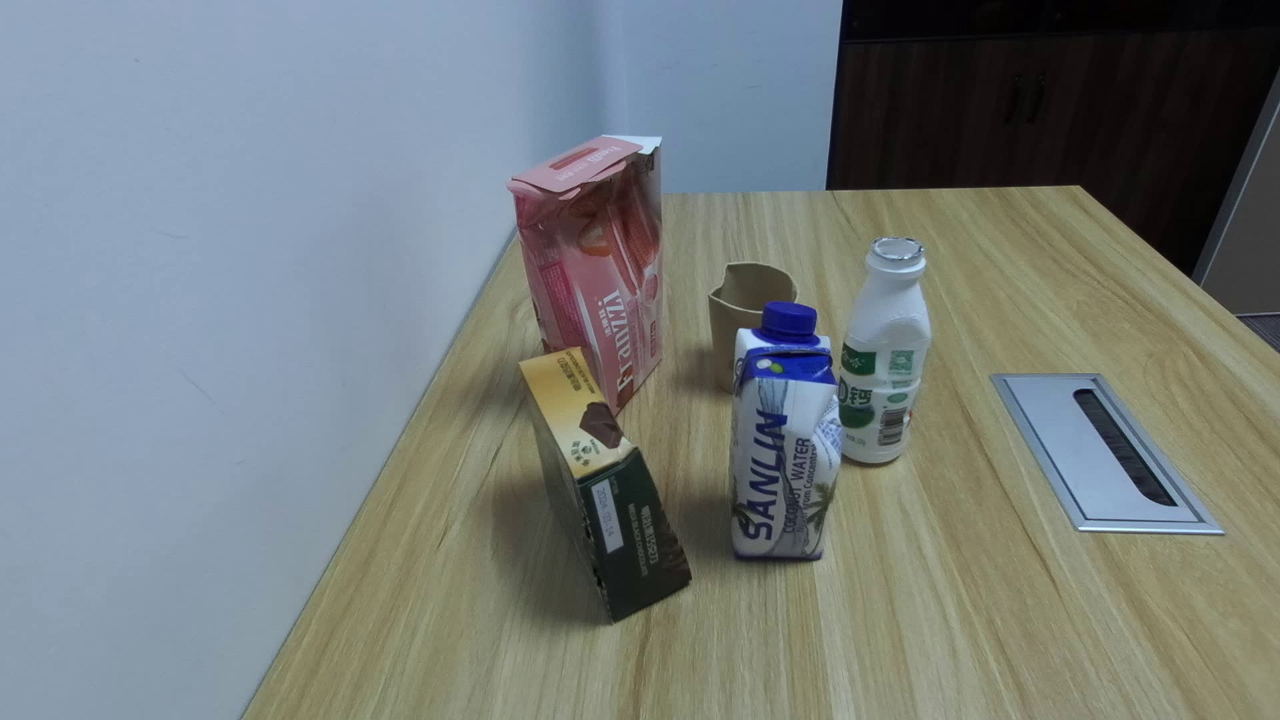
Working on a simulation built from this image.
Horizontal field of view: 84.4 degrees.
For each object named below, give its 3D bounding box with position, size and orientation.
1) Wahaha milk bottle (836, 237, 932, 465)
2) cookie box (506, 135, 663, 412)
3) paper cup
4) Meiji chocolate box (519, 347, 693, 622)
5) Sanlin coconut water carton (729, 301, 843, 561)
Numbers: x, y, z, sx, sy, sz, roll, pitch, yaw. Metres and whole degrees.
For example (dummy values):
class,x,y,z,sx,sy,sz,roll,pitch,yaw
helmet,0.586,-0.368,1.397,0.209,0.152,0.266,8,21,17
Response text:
class,x,y,z,sx,sy,sz,roll,pitch,yaw
Wahaha milk bottle,0.150,-0.004,0.447,0.055,0.149,0.055,-3,36,3
cookie box,-0.027,-0.055,0.510,0.055,0.184,0.119,16,39,28
paper cup,0.090,-0.021,0.551,0.066,0.084,0.072,9,32,23
Meiji chocolate box,-0.019,0.064,0.399,0.058,0.111,0.112,-20,37,-15
Sanlin coconut water carton,0.081,0.042,0.389,0.061,0.144,0.070,1,32,5
